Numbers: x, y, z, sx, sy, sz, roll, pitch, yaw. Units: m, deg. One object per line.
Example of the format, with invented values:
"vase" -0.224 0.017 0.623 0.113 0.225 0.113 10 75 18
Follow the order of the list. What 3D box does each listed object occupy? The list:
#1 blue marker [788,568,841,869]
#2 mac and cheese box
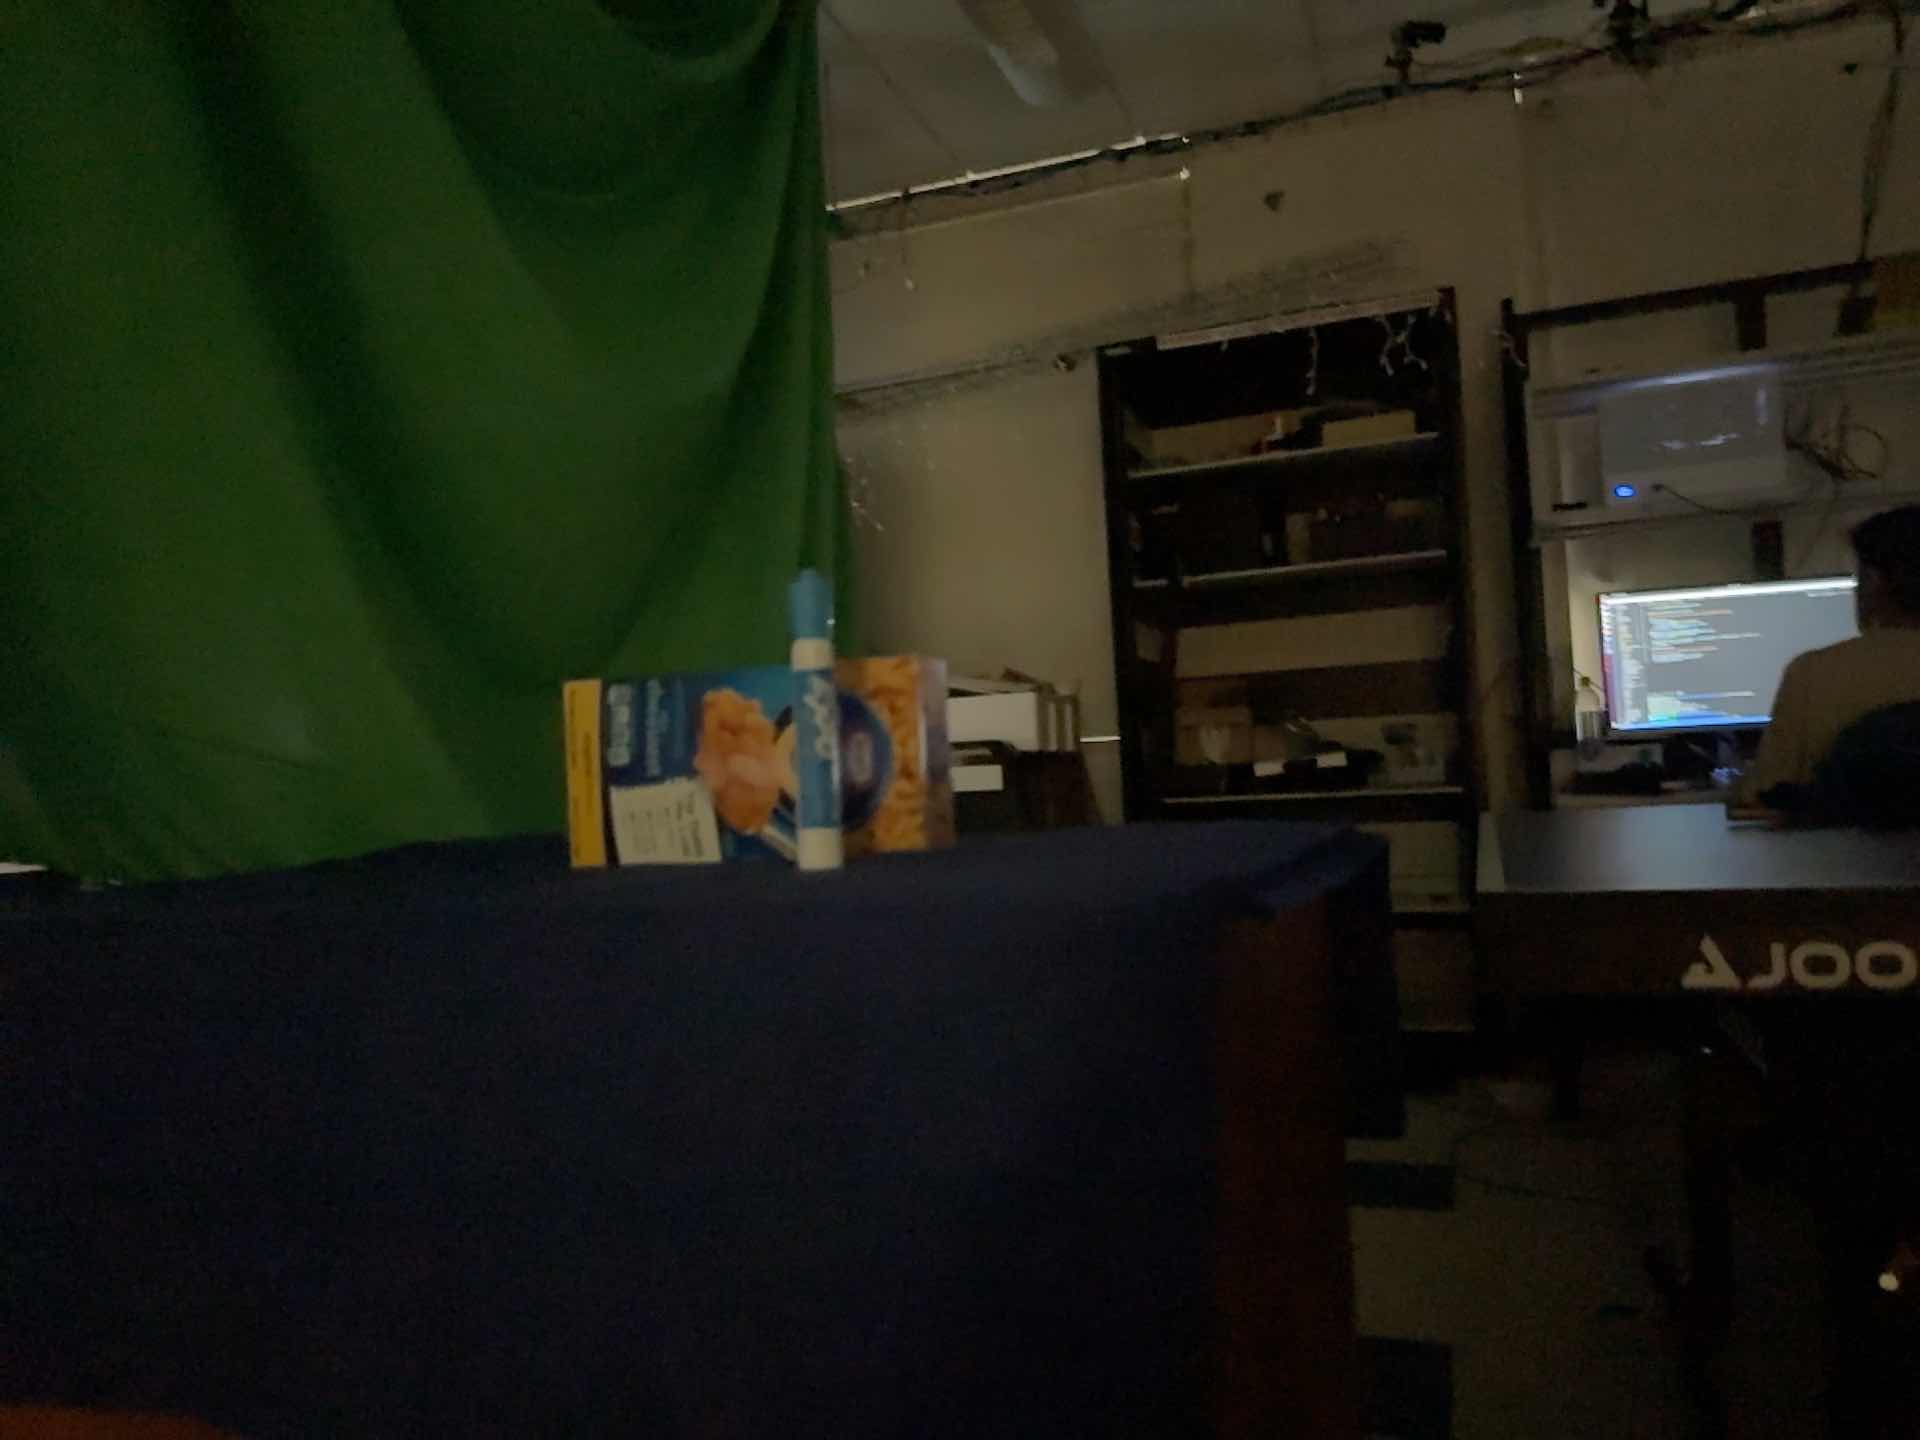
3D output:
"blue marker" -0.059 -0.001 0.544 0.020 0.121 0.020 -2 -3 0
"mac and cheese box" -0.099 0.019 0.629 0.181 0.088 0.035 -4 -3 18
